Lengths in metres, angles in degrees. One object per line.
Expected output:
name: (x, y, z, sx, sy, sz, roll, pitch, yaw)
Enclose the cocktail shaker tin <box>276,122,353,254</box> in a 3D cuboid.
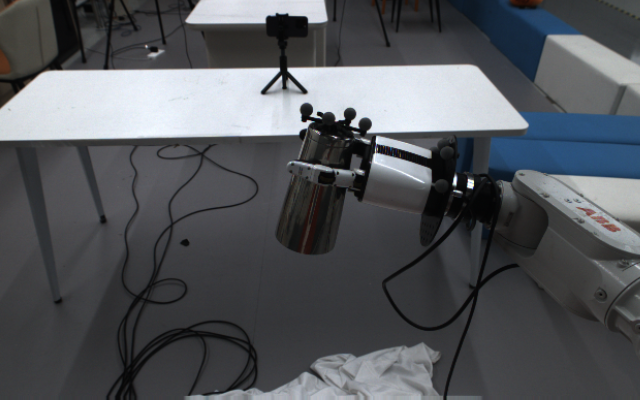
cocktail shaker tin: (0.000, -0.022, 0.685, 0.093, 0.170, 0.093, 12, 25, -6)
